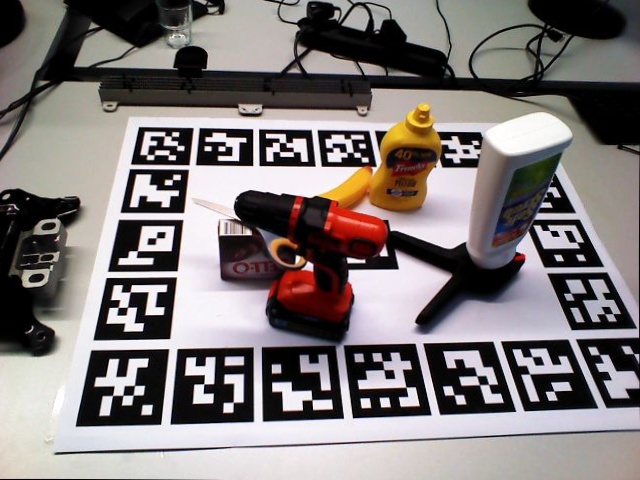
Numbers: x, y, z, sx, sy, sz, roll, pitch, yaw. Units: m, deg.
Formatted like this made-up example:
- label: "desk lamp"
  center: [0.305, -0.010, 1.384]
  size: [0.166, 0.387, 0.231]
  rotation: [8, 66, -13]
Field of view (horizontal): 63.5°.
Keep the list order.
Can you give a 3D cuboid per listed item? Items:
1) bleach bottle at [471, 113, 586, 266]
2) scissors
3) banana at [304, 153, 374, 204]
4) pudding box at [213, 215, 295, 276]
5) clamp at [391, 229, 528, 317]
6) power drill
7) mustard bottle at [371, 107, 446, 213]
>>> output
- label: "bleach bottle"
  center: [0.264, -0.047, 0.699]
  size: [0.102, 0.251, 0.068]
  rotation: [-19, 51, -11]
- label: "scissors"
  center: [-0.096, -0.037, 0.693]
  size: [0.203, 0.016, 0.087]
  rotation: [22, 56, 6]
- label: "banana"
  center: [0.030, -0.096, 0.862]
  size: [0.196, 0.039, 0.074]
  rotation: [-34, 45, -28]
- label: "pudding box"
  center: [-0.092, 0.009, 0.739]
  size: [0.114, 0.090, 0.038]
  rotation: [4, 44, -4]
- label: "clamp"
  center: [0.222, 0.032, 0.768]
  size: [0.203, 0.037, 0.164]
  rotation: [-4, 54, -11]
- label: "power drill"
  center: [-0.022, 0.026, 0.633]
  size: [0.185, 0.188, 0.057]
  rotation: [9, 44, 5]
- label: "mustard bottle"
  center: [0.144, -0.126, 0.813]
  size: [0.096, 0.192, 0.058]
  rotation: [12, 51, 2]
